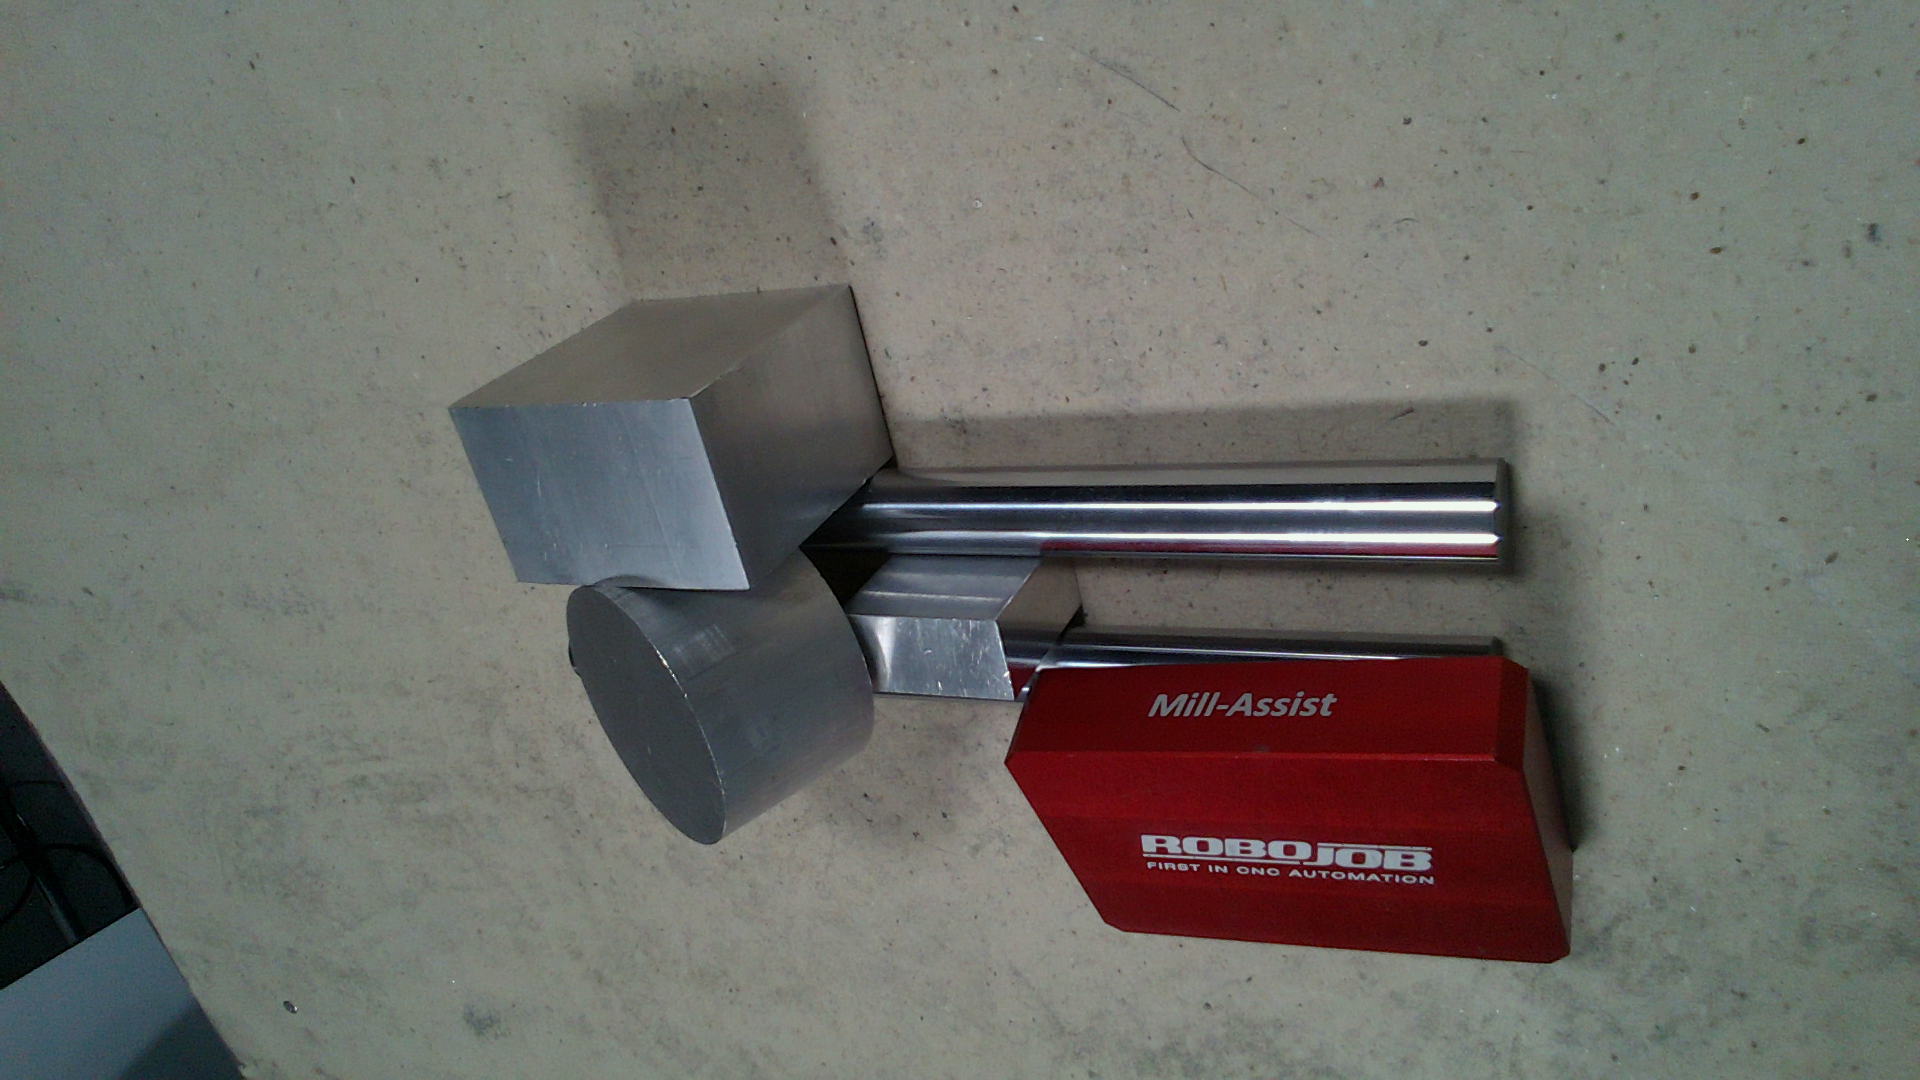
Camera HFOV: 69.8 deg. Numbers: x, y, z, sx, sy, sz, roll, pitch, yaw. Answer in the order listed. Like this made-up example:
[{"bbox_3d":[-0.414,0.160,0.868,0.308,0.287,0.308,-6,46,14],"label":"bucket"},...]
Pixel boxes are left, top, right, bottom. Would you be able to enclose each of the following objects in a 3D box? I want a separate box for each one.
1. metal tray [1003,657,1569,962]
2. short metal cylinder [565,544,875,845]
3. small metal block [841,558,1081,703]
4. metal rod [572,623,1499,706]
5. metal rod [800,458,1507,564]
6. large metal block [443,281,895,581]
[{"bbox_3d":[0.088,0.073,0.369,0.130,0.030,0.090,-5,134,29],"label":"metal tray"},{"bbox_3d":[-0.069,0.038,0.392,0.080,0.050,0.080,34,139,36],"label":"short metal cylinder"},{"bbox_3d":[0.000,0.020,0.389,0.050,0.050,0.025,1,119,28],"label":"small metal block"},{"bbox_3d":[0.002,0.037,0.415,0.299,0.025,0.025,0,118,28],"label":"metal rod"},{"bbox_3d":[-0.005,-0.008,0.391,0.299,0.025,0.025,1,119,28],"label":"metal rod"},{"bbox_3d":[-0.077,-0.031,0.380,0.080,0.080,0.050,1,119,28],"label":"large metal block"}]
